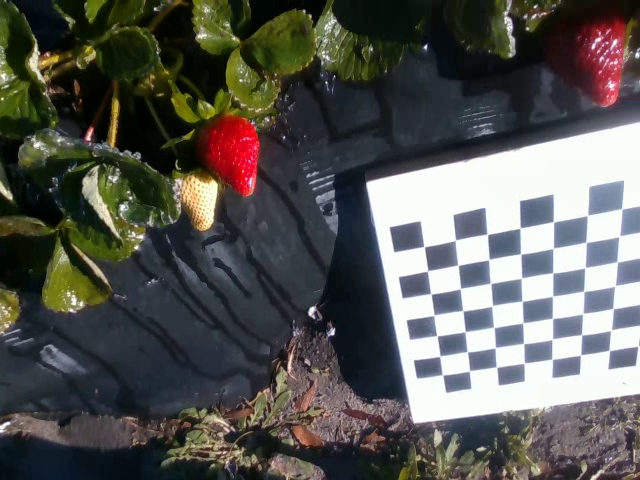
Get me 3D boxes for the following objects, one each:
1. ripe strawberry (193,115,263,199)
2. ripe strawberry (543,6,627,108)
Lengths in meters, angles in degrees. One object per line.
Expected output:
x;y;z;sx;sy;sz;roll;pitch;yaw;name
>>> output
-0.055;-0.054;0.386;0.042;0.061;0.046;-23;-11;15;ripe strawberry
0.164;-0.102;0.344;0.048;0.061;0.044;-16;0;11;ripe strawberry
